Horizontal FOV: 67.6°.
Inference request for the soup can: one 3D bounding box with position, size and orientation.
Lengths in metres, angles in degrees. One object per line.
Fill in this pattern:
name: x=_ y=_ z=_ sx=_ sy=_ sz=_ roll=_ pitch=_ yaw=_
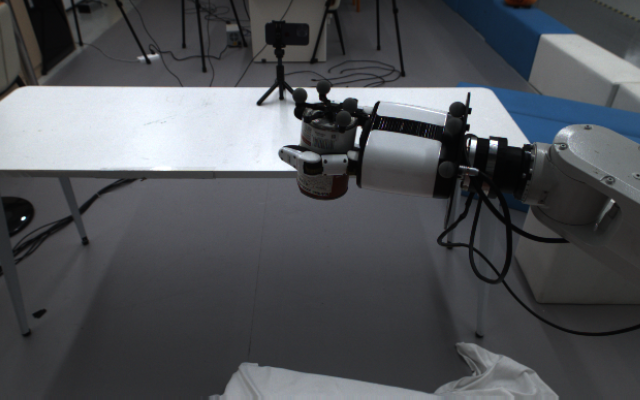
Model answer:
soup can: x=0.009 y=-0.060 z=0.598 sx=0.067 sy=0.101 sz=0.067 roll=4 pitch=37 yaw=-3
